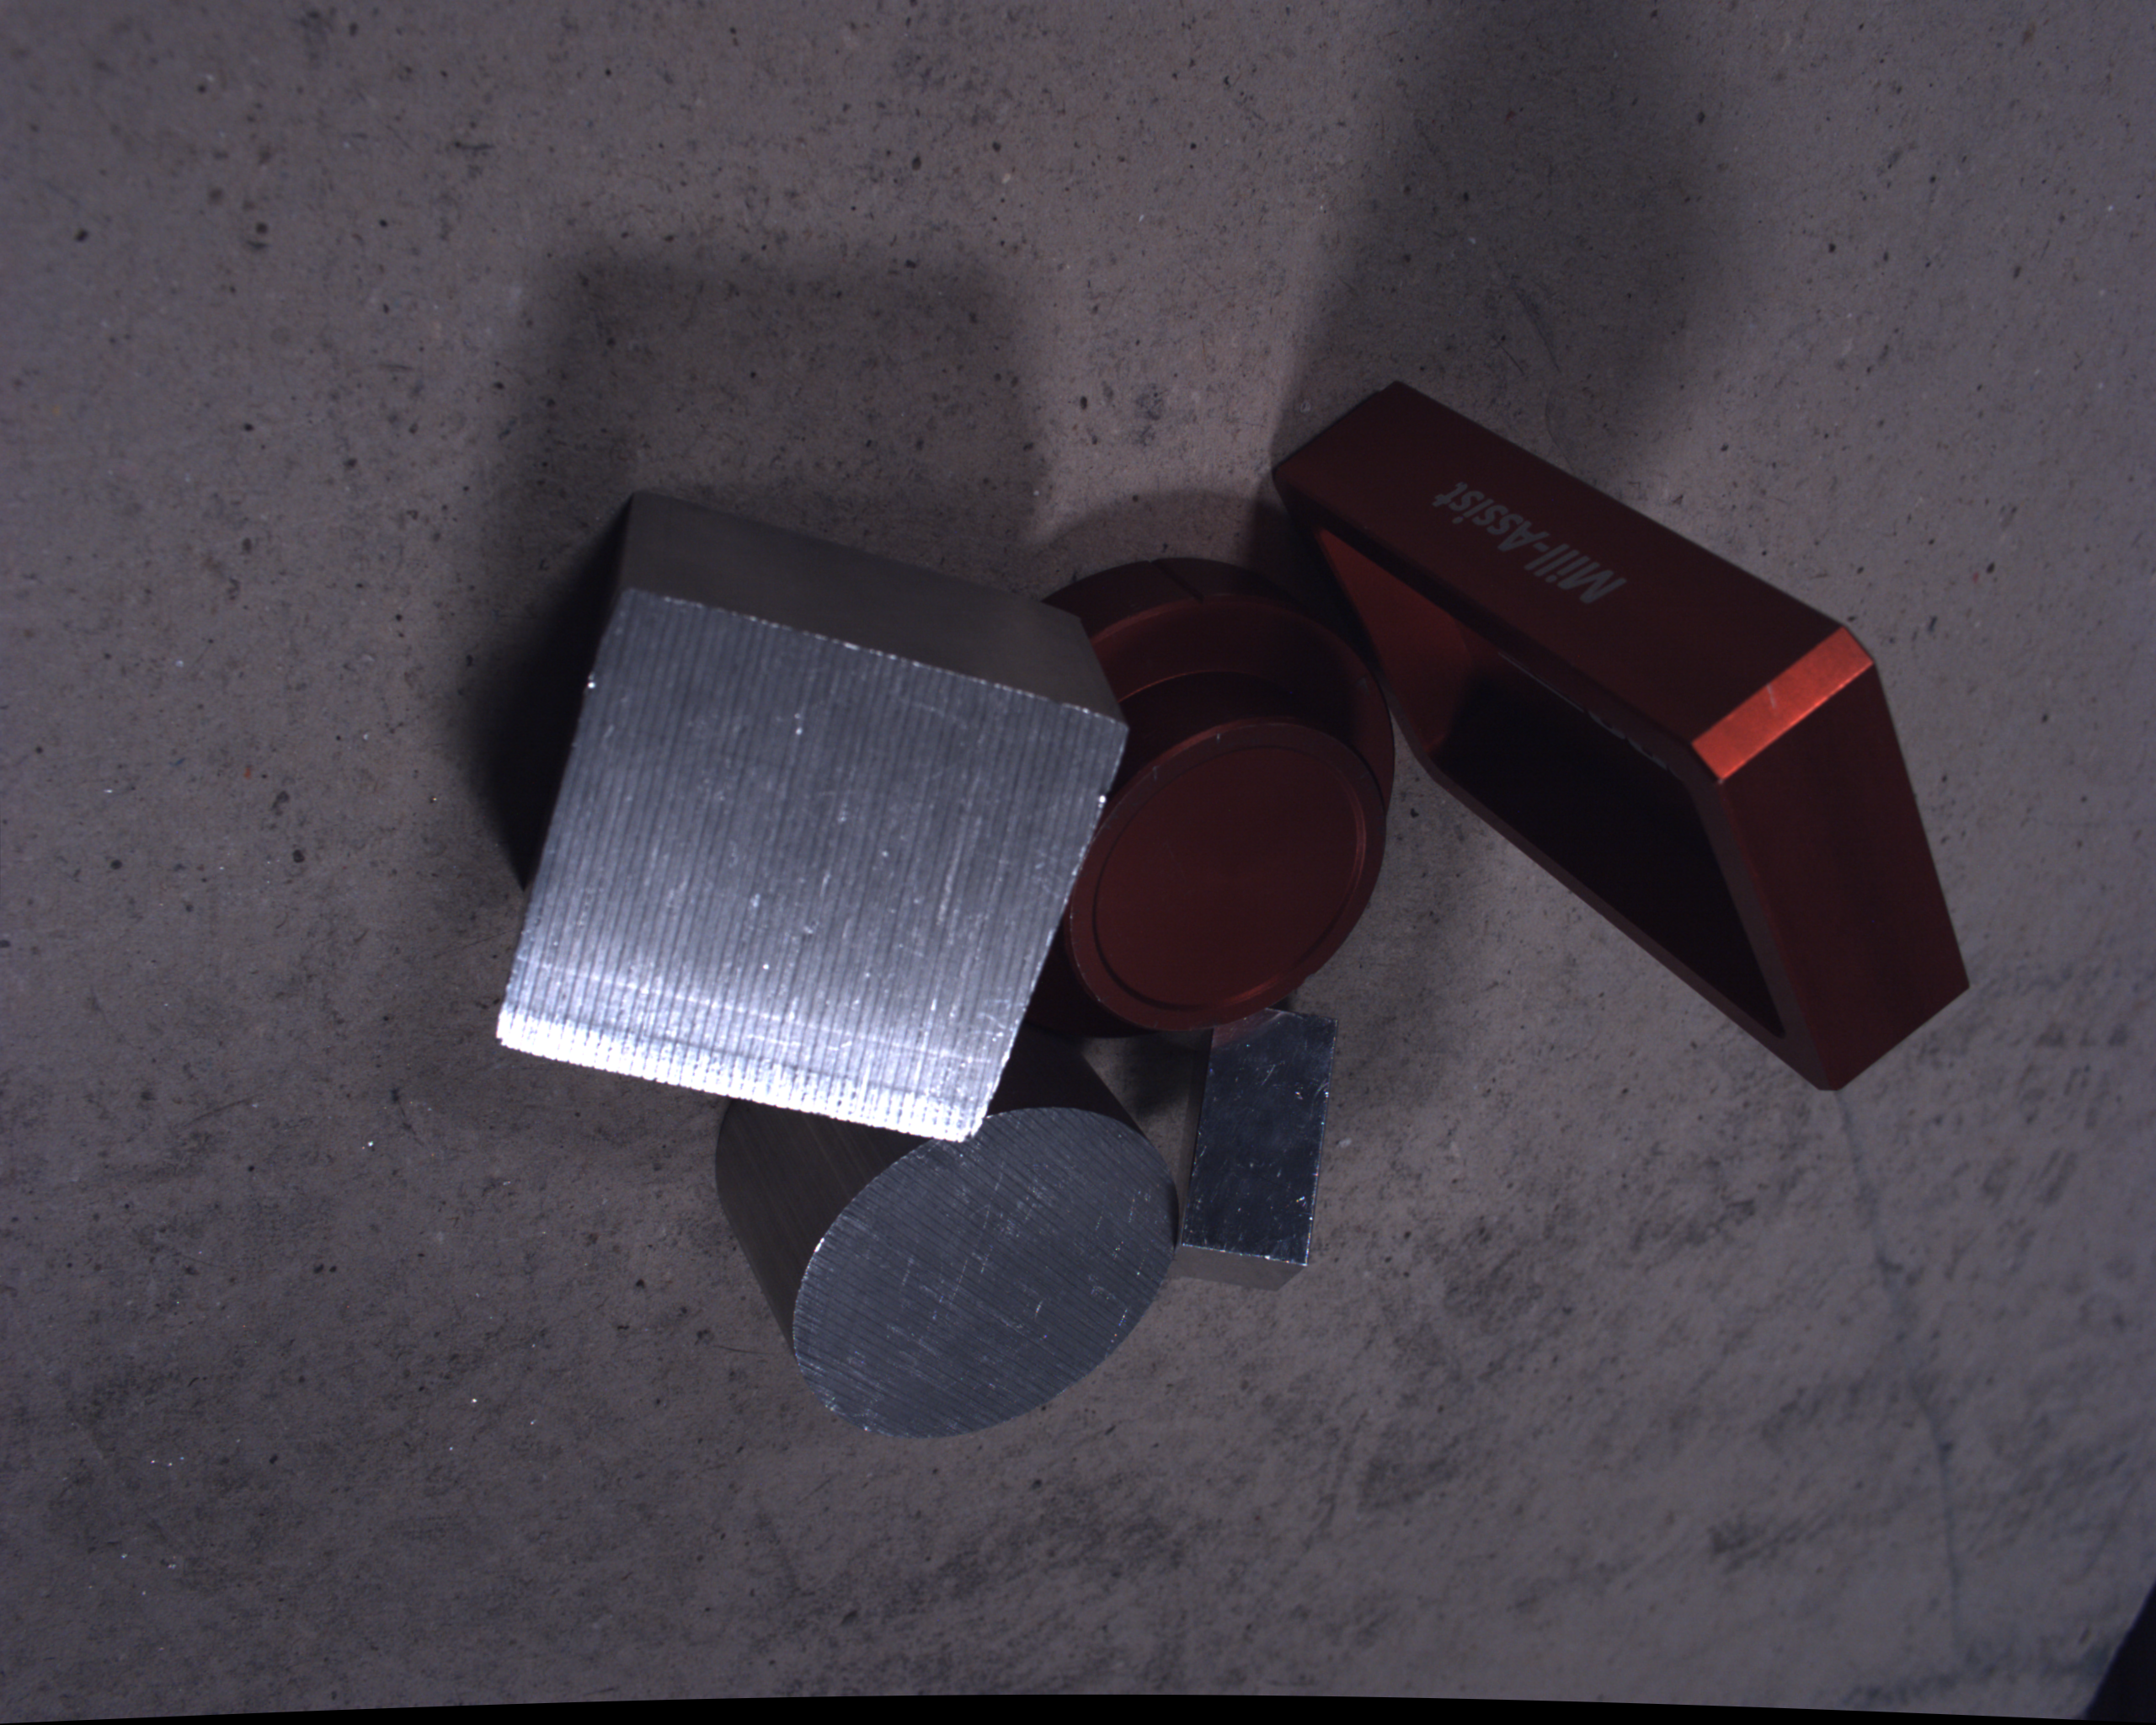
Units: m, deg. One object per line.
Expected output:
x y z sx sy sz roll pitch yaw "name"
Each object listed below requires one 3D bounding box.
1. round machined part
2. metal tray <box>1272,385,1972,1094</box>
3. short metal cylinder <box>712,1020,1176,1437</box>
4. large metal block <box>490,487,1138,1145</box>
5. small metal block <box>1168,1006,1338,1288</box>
0.020 -0.007 0.406 0.099 0.042 0.097 -14 125 -21 "round machined part"
0.094 -0.025 0.377 0.030 0.130 0.090 -38 130 -3 "metal tray"
-0.027 0.068 0.421 0.081 0.050 0.079 -14 125 -21 "short metal cylinder"
-0.046 -0.007 0.348 0.081 0.050 0.079 15 112 -16 "large metal block"
0.035 0.060 0.436 0.025 0.050 0.050 9 162 1 "small metal block"
